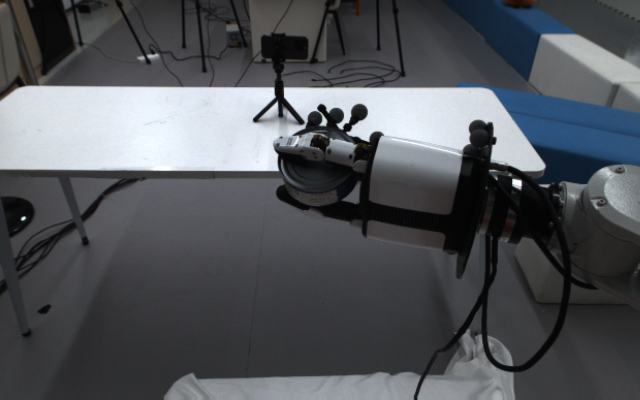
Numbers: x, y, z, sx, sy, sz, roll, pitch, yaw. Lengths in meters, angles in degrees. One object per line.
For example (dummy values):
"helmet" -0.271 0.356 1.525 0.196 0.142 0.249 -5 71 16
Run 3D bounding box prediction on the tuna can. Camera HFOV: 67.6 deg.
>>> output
"tuna can" 0.001 -0.039 0.522 0.085 0.034 0.085 -4 56 6
